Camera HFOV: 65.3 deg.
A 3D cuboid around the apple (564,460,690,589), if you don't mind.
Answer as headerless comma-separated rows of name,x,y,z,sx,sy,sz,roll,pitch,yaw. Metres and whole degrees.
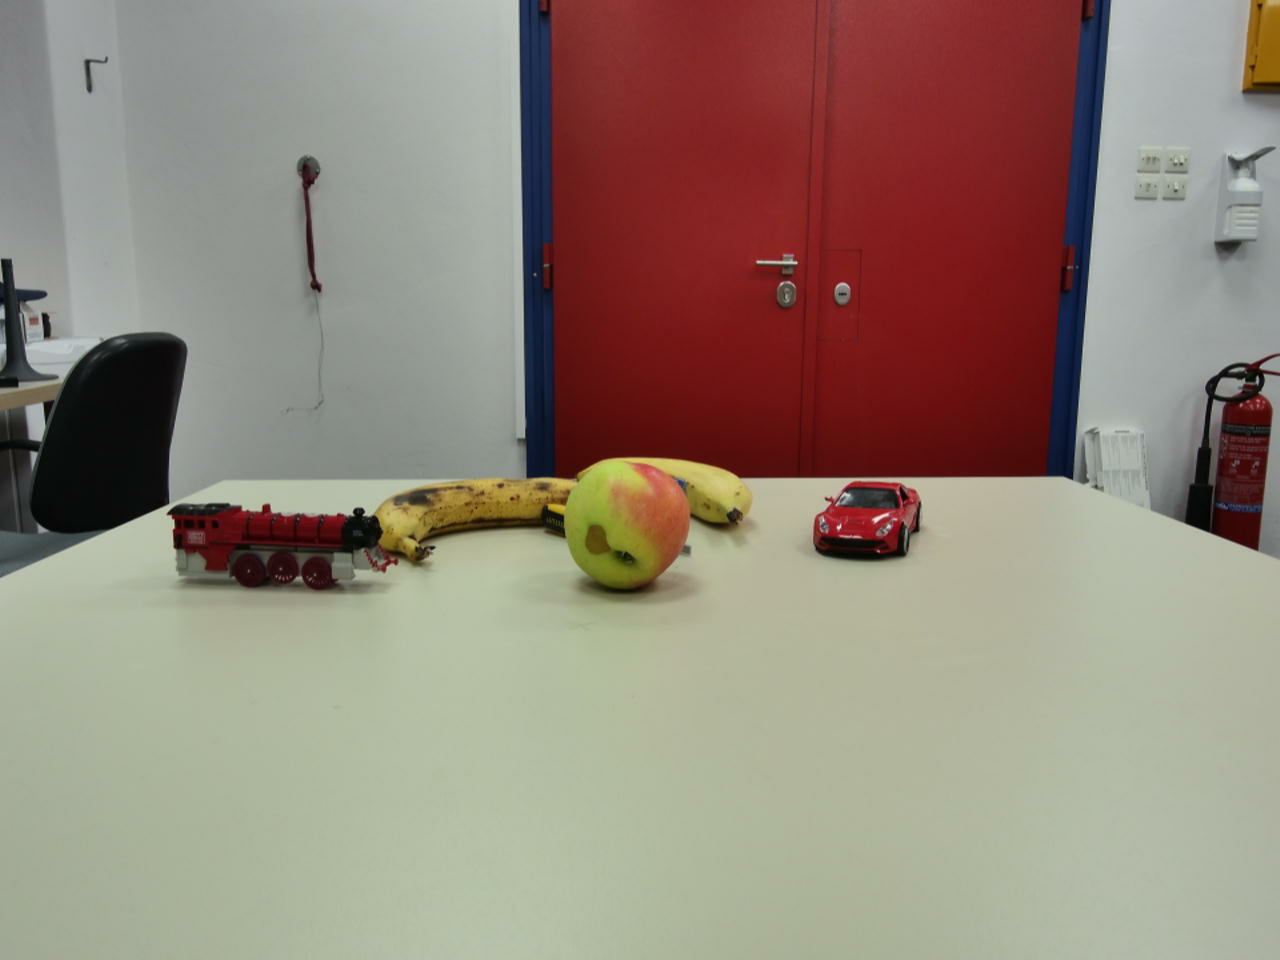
apple,-0.007,0.026,0.593,0.075,0.074,0.075,-2,8,-20
